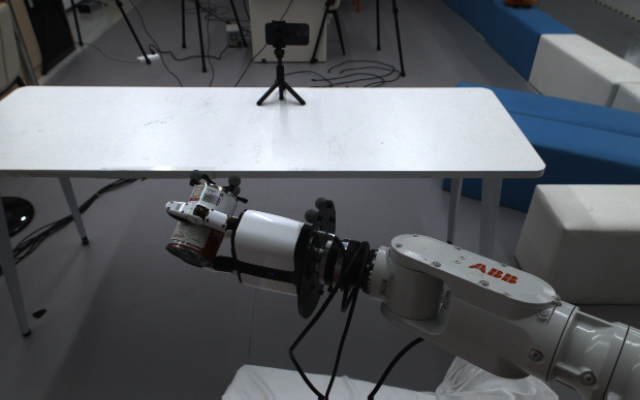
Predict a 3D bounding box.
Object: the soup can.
[{"bbox_3d":[-0.164,0.036,0.684,0.067,0.067,0.101,12,66,15],"label":"soup can"}]
